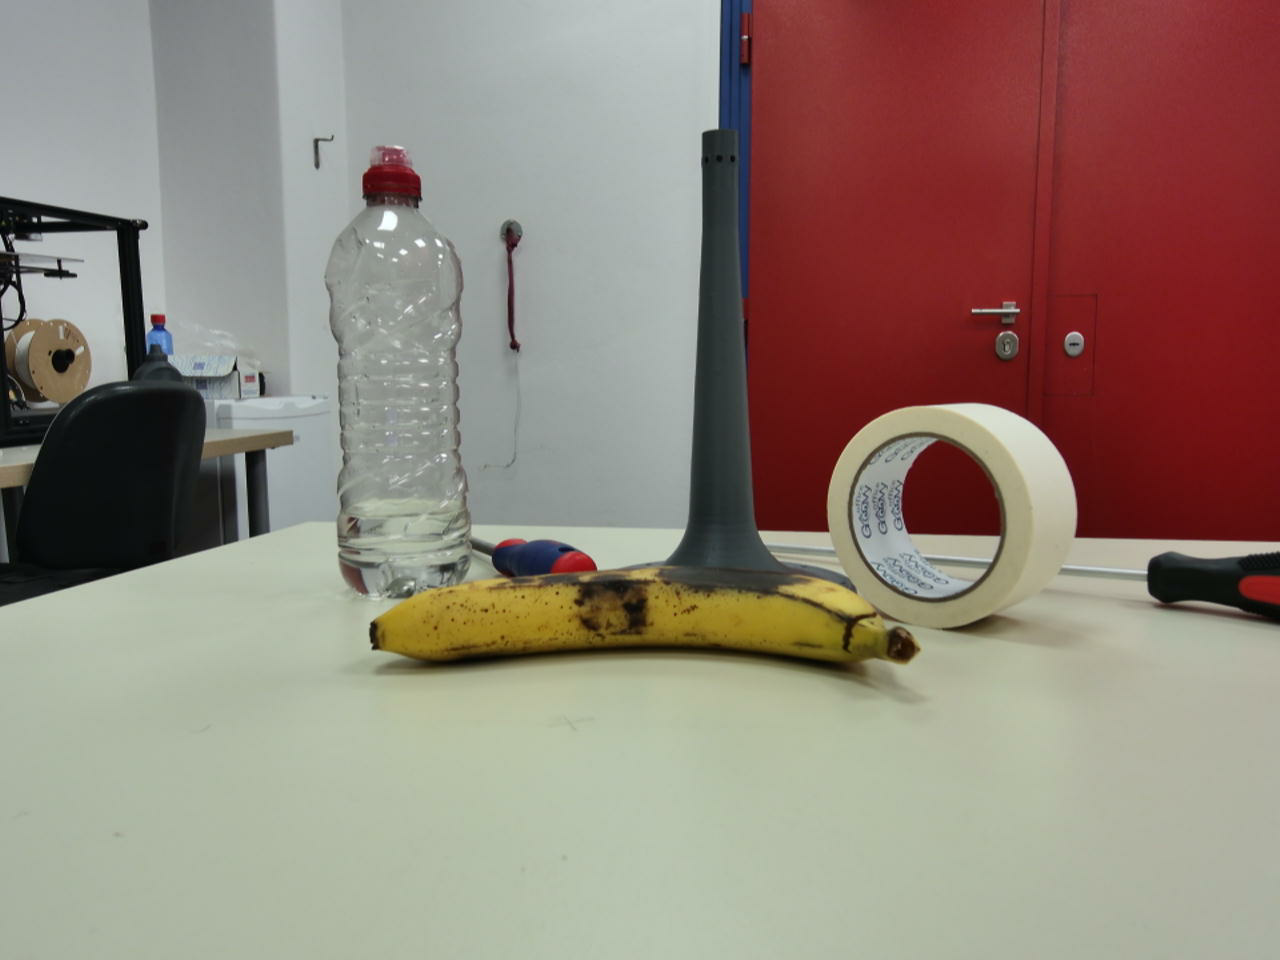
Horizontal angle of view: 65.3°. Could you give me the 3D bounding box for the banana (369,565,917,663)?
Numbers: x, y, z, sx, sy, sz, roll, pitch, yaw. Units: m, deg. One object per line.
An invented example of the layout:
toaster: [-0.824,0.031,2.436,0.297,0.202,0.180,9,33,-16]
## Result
banana: [0.002,0.059,0.431,0.222,0.037,0.084,1,4,13]
